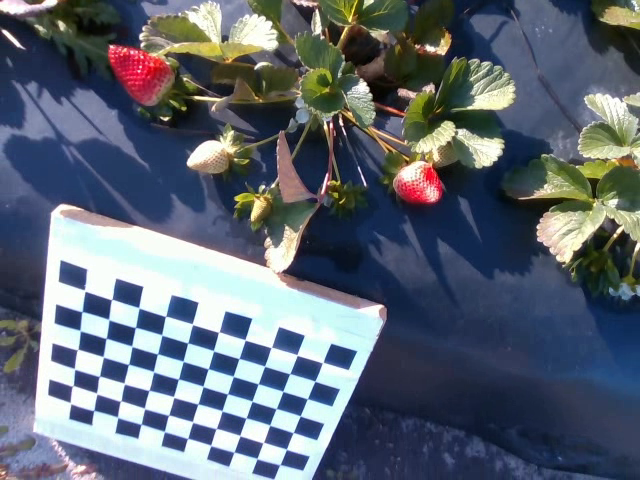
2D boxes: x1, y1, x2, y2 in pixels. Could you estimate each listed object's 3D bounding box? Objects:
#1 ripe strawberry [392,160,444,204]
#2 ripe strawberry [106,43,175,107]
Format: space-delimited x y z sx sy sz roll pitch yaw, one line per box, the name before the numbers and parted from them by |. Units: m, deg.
ripe strawberry | 0.072 -0.038 0.412 0.042 0.037 0.045 -12 32 -20
ripe strawberry | -0.122 -0.116 0.402 0.053 0.036 0.043 39 -63 -24
